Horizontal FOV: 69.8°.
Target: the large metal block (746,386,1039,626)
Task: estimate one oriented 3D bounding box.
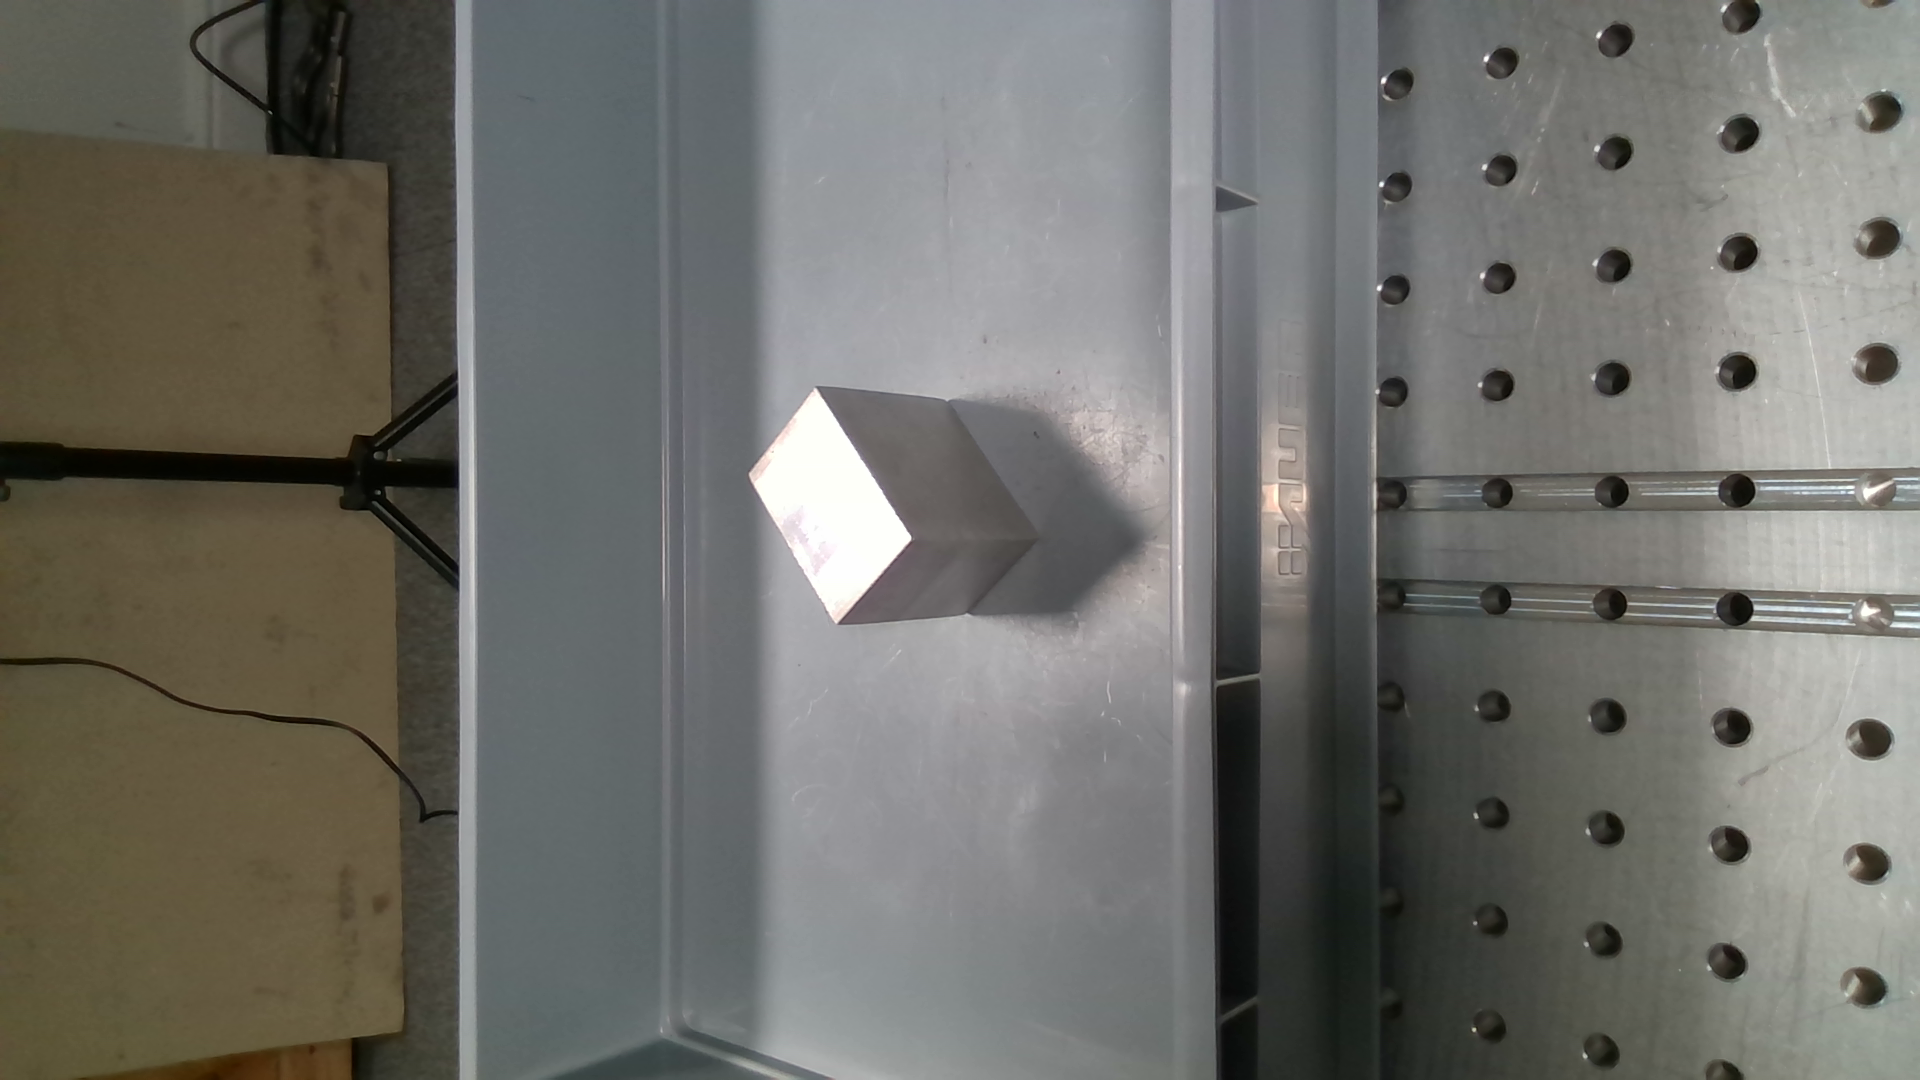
[{"bbox_3d":[-0.028,-0.014,0.566,0.050,0.080,0.080,-48,62,30],"label":"large metal block"}]
